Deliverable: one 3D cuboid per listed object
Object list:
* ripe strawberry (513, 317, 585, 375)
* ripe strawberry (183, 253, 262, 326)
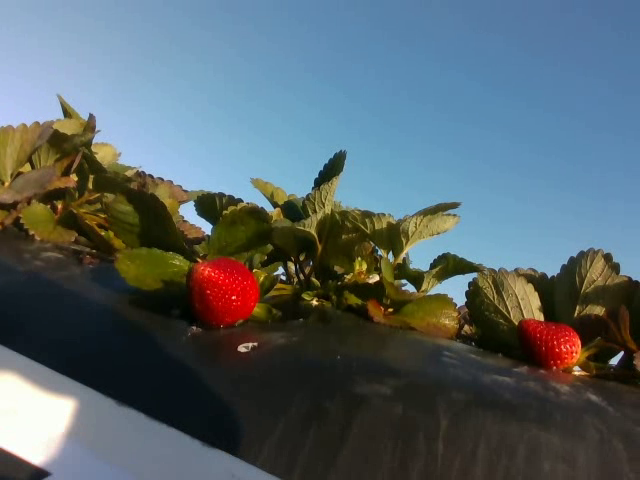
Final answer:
[{"bbox_3d":[0.130,0.057,0.348,0.046,0.036,0.034,28,16,14],"label":"ripe strawberry"},{"bbox_3d":[-0.053,0.023,0.311,0.045,0.042,0.055,26,-14,23],"label":"ripe strawberry"}]
